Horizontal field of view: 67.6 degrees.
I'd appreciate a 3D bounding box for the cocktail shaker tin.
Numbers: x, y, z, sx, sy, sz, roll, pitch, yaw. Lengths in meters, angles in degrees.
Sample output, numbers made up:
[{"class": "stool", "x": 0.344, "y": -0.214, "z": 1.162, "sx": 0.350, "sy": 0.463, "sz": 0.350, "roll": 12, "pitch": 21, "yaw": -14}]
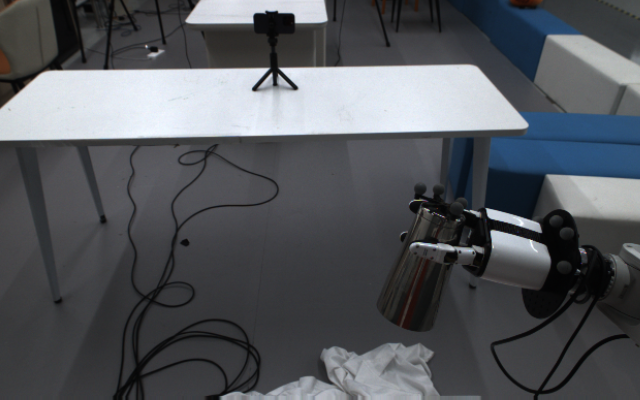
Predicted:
[{"class": "cocktail shaker tin", "x": 0.152, "y": 0.089, "z": 0.706, "sx": 0.093, "sy": 0.170, "sz": 0.093, "roll": 14, "pitch": 18, "yaw": -5}]
